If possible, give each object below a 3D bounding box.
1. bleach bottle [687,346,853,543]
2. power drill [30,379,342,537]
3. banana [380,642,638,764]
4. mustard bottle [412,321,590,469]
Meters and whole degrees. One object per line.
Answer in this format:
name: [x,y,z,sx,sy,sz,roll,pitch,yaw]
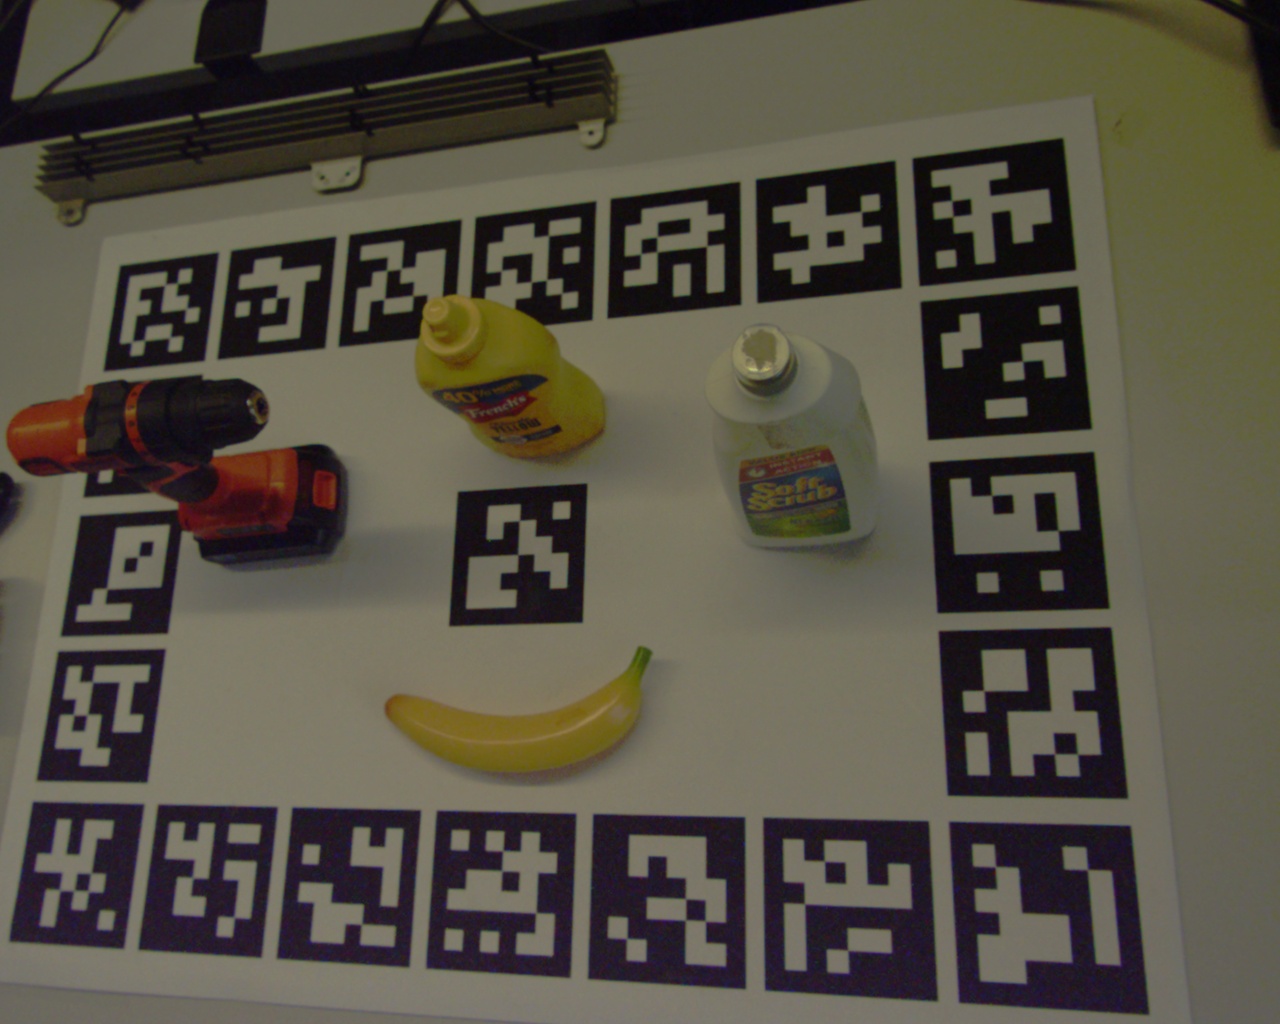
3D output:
bleach bottle: [0.073,-0.041,0.694,0.103,0.248,0.068,5,77,16]
power drill: [-0.295,-0.036,0.803,0.186,0.185,0.057,-10,73,17]
banana: [-0.093,0.139,0.798,0.199,0.038,0.074,-9,75,17]
mustard bottle: [-0.104,-0.084,0.792,0.097,0.190,0.058,-11,73,11]
